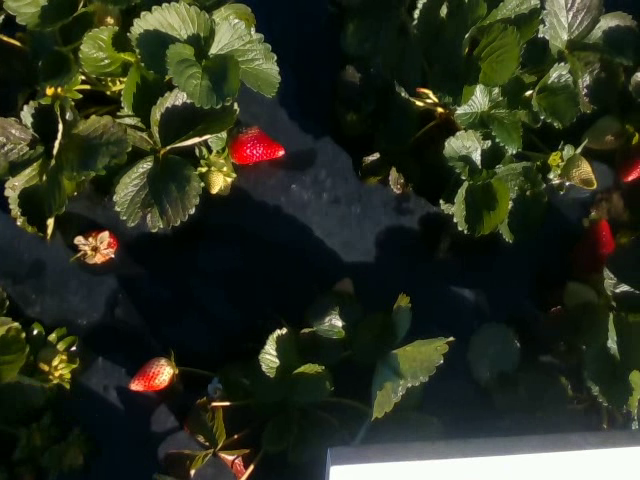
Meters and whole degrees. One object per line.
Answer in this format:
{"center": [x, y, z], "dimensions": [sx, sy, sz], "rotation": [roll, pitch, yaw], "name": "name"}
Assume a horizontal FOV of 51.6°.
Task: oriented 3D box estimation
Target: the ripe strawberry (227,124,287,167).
{"center": [-0.063, -0.093, 0.644], "dimensions": [0.064, 0.050, 0.052], "rotation": [10, 27, 1], "name": "ripe strawberry"}
